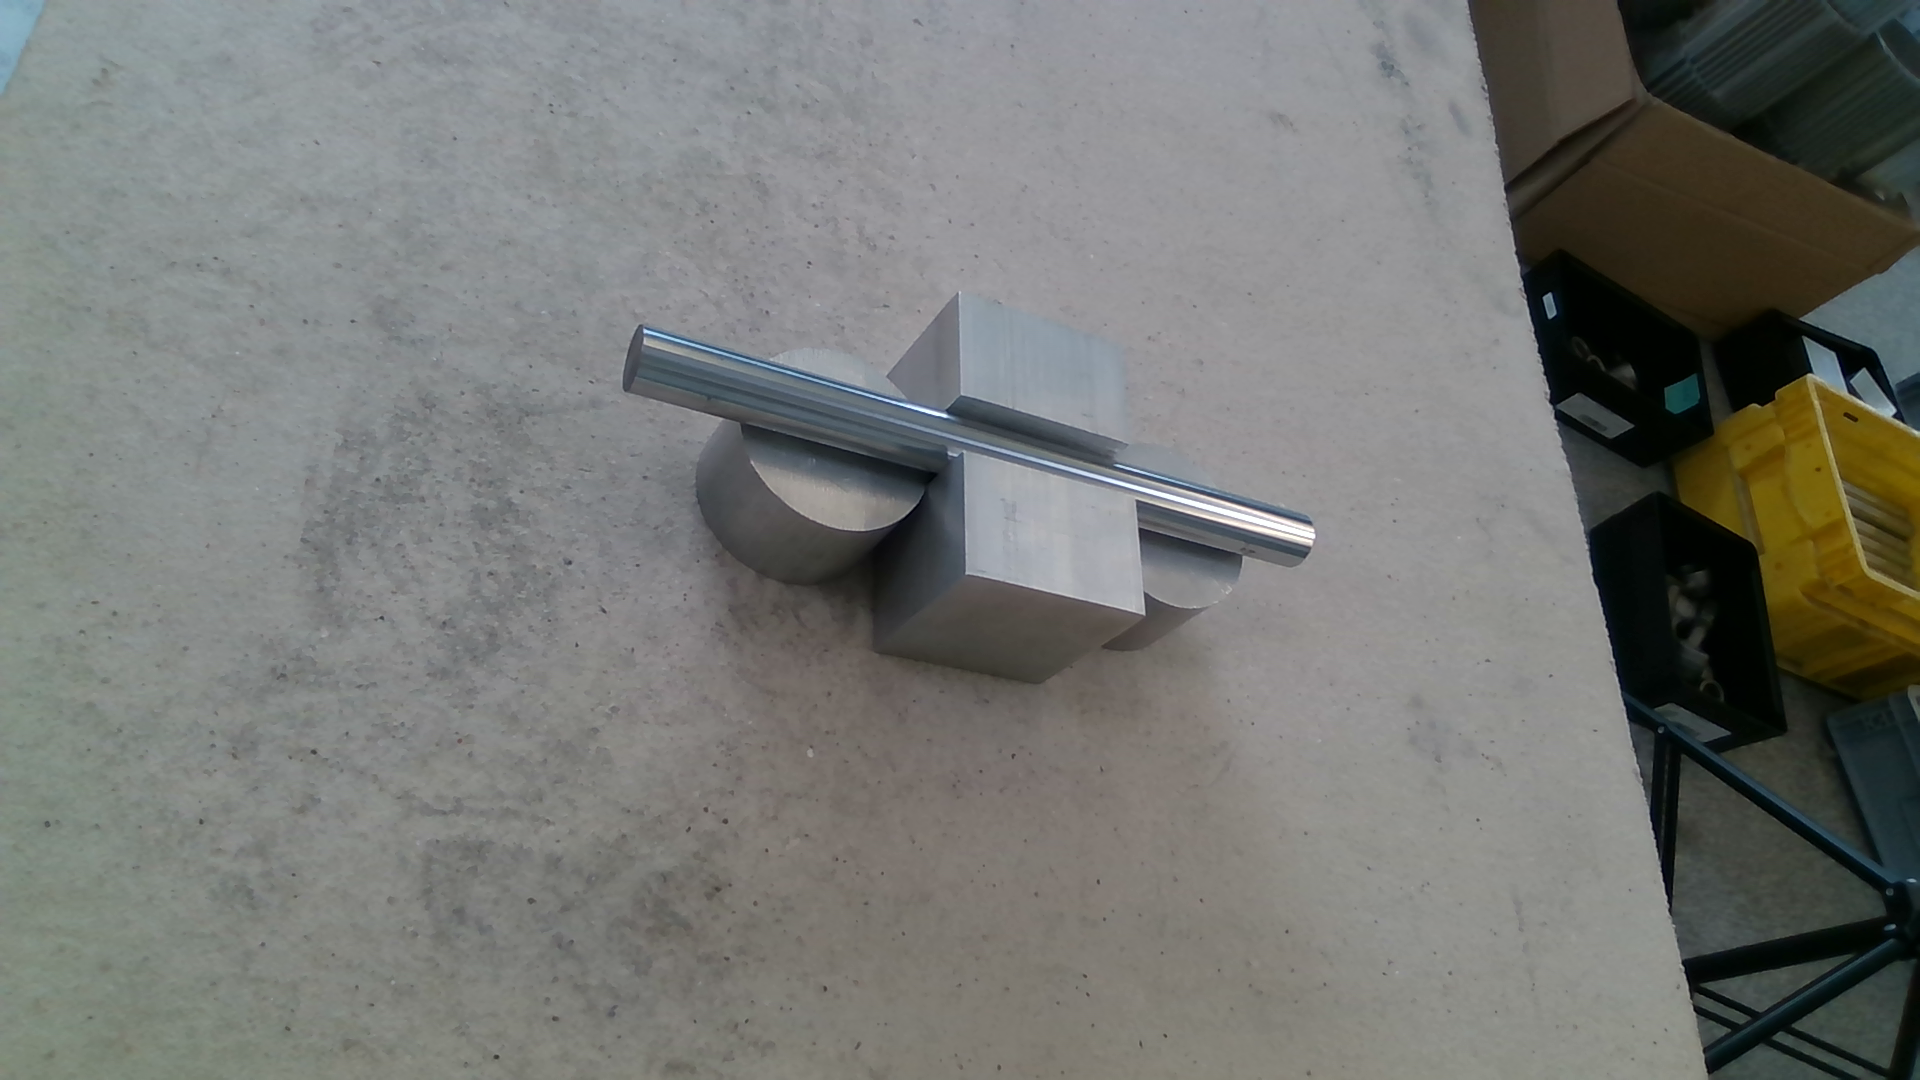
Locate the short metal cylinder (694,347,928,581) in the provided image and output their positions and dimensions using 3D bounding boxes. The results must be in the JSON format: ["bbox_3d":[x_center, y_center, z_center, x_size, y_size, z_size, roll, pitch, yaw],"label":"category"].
[{"bbox_3d":[-0.060,-0.030,0.550,0.080,0.050,0.080,15,58,-25],"label":"short metal cylinder"}]

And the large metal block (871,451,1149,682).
[{"bbox_3d":[0.018,0.014,0.555,0.080,0.080,0.050,14,59,-26],"label":"large metal block"}]

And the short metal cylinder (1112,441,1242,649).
[{"bbox_3d":[0.079,0.003,0.618,0.080,0.050,0.080,15,58,-25],"label":"short metal cylinder"}]

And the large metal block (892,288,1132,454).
[{"bbox_3d":[0.016,-0.054,0.590,0.080,0.080,0.050,14,59,-26],"label":"large metal block"}]

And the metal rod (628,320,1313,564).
[{"bbox_3d":[0.017,-0.033,0.550,0.300,0.025,0.025,14,59,-25],"label":"metal rod"}]
